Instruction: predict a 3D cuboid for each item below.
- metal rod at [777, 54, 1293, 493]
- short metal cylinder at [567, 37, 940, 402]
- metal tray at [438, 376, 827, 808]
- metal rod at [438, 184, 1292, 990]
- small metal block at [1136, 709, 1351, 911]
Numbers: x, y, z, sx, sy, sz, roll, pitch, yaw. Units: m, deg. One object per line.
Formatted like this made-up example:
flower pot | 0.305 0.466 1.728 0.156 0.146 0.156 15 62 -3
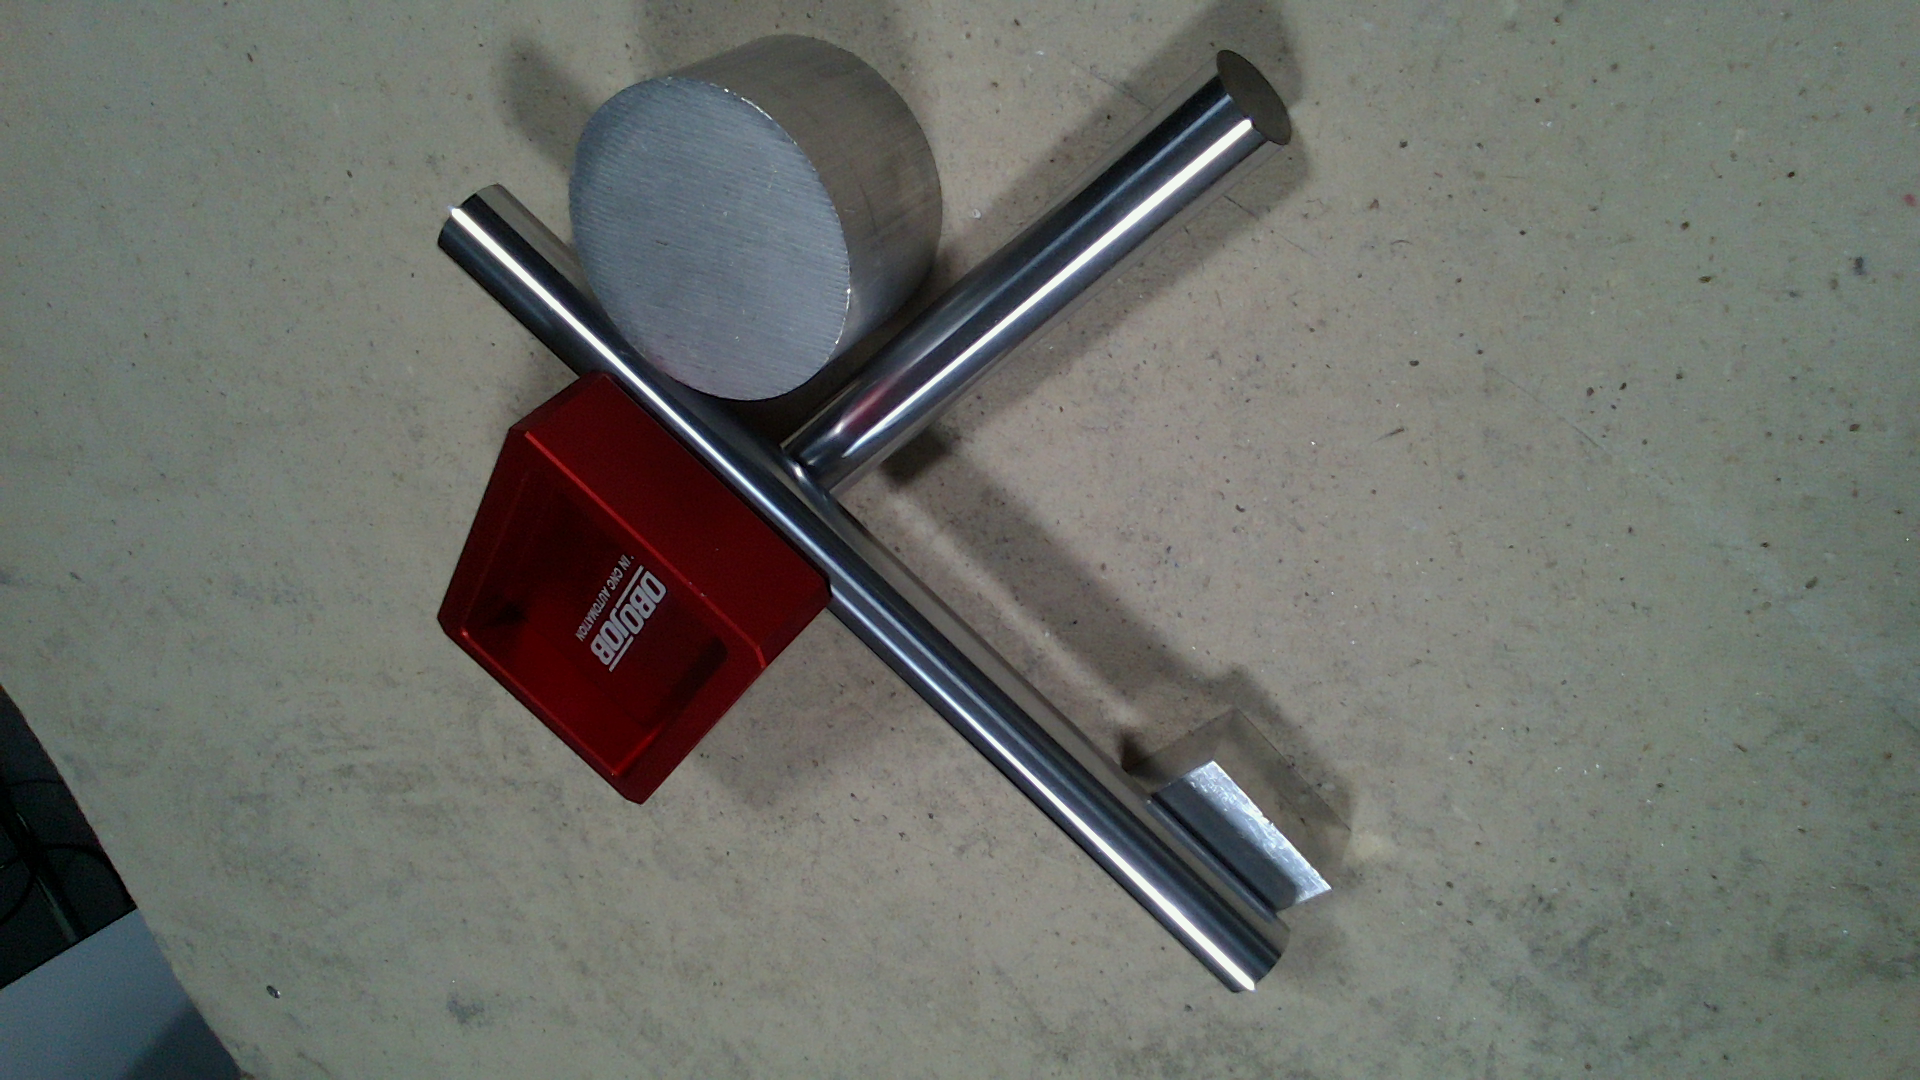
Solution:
metal rod | -0.033 -0.030 0.392 0.299 0.025 0.025 -34 99 38
short metal cylinder | -0.052 -0.082 0.353 0.080 0.050 0.080 13 124 21
metal tray | -0.102 0.022 0.408 0.090 0.030 0.130 43 141 -1
metal rod | -0.025 0.014 0.383 0.300 0.025 0.025 43 129 -2
small metal block | 0.077 0.085 0.404 0.050 0.025 0.050 47 129 -5
